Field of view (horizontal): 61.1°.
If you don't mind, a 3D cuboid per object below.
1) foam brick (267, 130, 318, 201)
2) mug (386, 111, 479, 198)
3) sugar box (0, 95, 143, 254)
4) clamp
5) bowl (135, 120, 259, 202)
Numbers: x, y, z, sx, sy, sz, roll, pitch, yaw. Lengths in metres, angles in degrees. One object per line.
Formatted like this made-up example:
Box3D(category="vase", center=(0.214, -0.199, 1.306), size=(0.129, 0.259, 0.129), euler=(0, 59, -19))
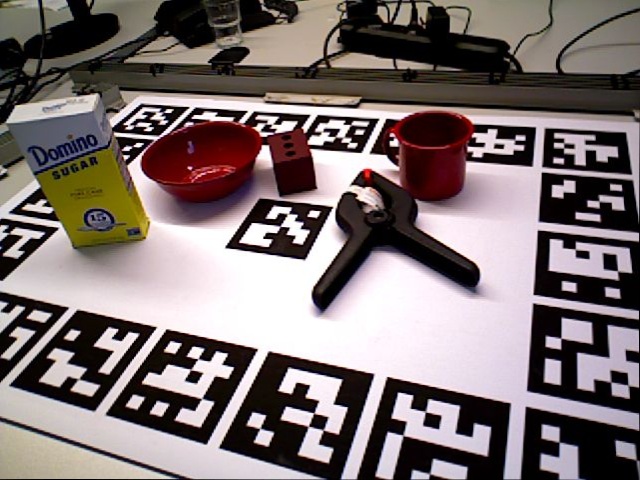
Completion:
Box3D(category="foam brick", center=(-0.037, -0.097, 0.705), size=(0.052, 0.052, 0.077), euler=(-12, 43, -3))
Box3D(category="mug", center=(0.129, -0.111, 0.655), size=(0.117, 0.083, 0.091), euler=(31, 54, 32))
Box3D(category="sugar box", center=(-0.271, -0.066, 0.609), size=(0.092, 0.180, 0.044), euler=(-8, 43, -3))
Box3D(category="clamp", center=(0.063, -0.017, 0.592), size=(0.165, 0.037, 0.199), euler=(-11, 43, 2))
Box3D(category="bowl", center=(-0.156, -0.099, 0.717), size=(0.161, 0.056, 0.159), euler=(-5, 42, 3))
